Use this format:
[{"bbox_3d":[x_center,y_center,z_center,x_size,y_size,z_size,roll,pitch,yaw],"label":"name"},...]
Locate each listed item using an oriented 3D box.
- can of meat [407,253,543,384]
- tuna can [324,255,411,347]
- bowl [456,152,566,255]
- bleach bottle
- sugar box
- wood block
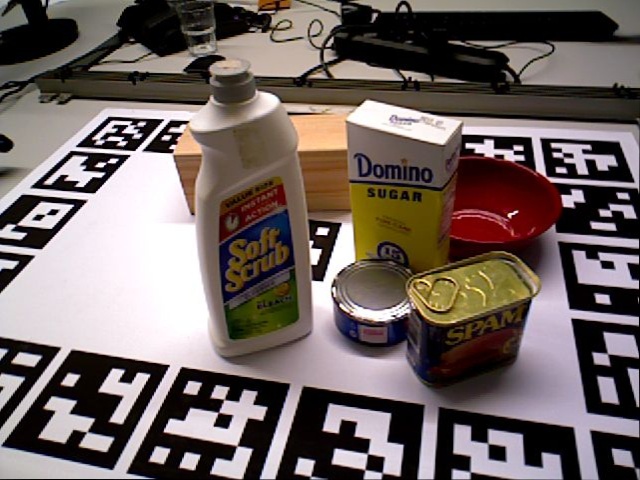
[{"bbox_3d":[0.122,0.064,0.448,0.101,0.085,0.057,-13,37,-12],"label":"can of meat"},{"bbox_3d":[0.046,0.055,0.497,0.085,0.034,0.084,-5,42,3],"label":"tuna can"},{"bbox_3d":[0.174,-0.032,0.574,0.161,0.056,0.159,-7,38,4],"label":"bowl"},{"bbox_3d":[-0.063,-0.021,0.434,0.102,0.256,0.067,-11,39,-7],"label":"bleach bottle"},{"bbox_3d":[0.076,-0.037,0.491,0.093,0.180,0.044,18,46,30],"label":"sugar box"},{"bbox_3d":[-0.068,-0.093,0.655,0.206,0.092,0.089,0,44,5],"label":"wood block"}]
